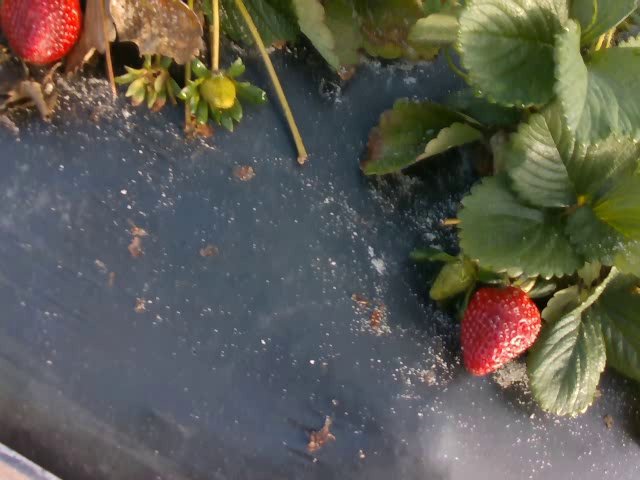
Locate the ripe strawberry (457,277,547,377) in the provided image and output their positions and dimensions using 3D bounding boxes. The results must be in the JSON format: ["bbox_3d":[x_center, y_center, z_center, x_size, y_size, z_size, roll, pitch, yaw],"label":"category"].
[{"bbox_3d":[0.055,0.030,0.195,0.029,0.036,0.021,31,-20,7],"label":"ripe strawberry"}]

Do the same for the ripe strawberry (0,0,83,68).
[{"bbox_3d":[-0.091,-0.067,0.196,0.032,0.030,0.025,-6,-31,-7],"label":"ripe strawberry"}]
